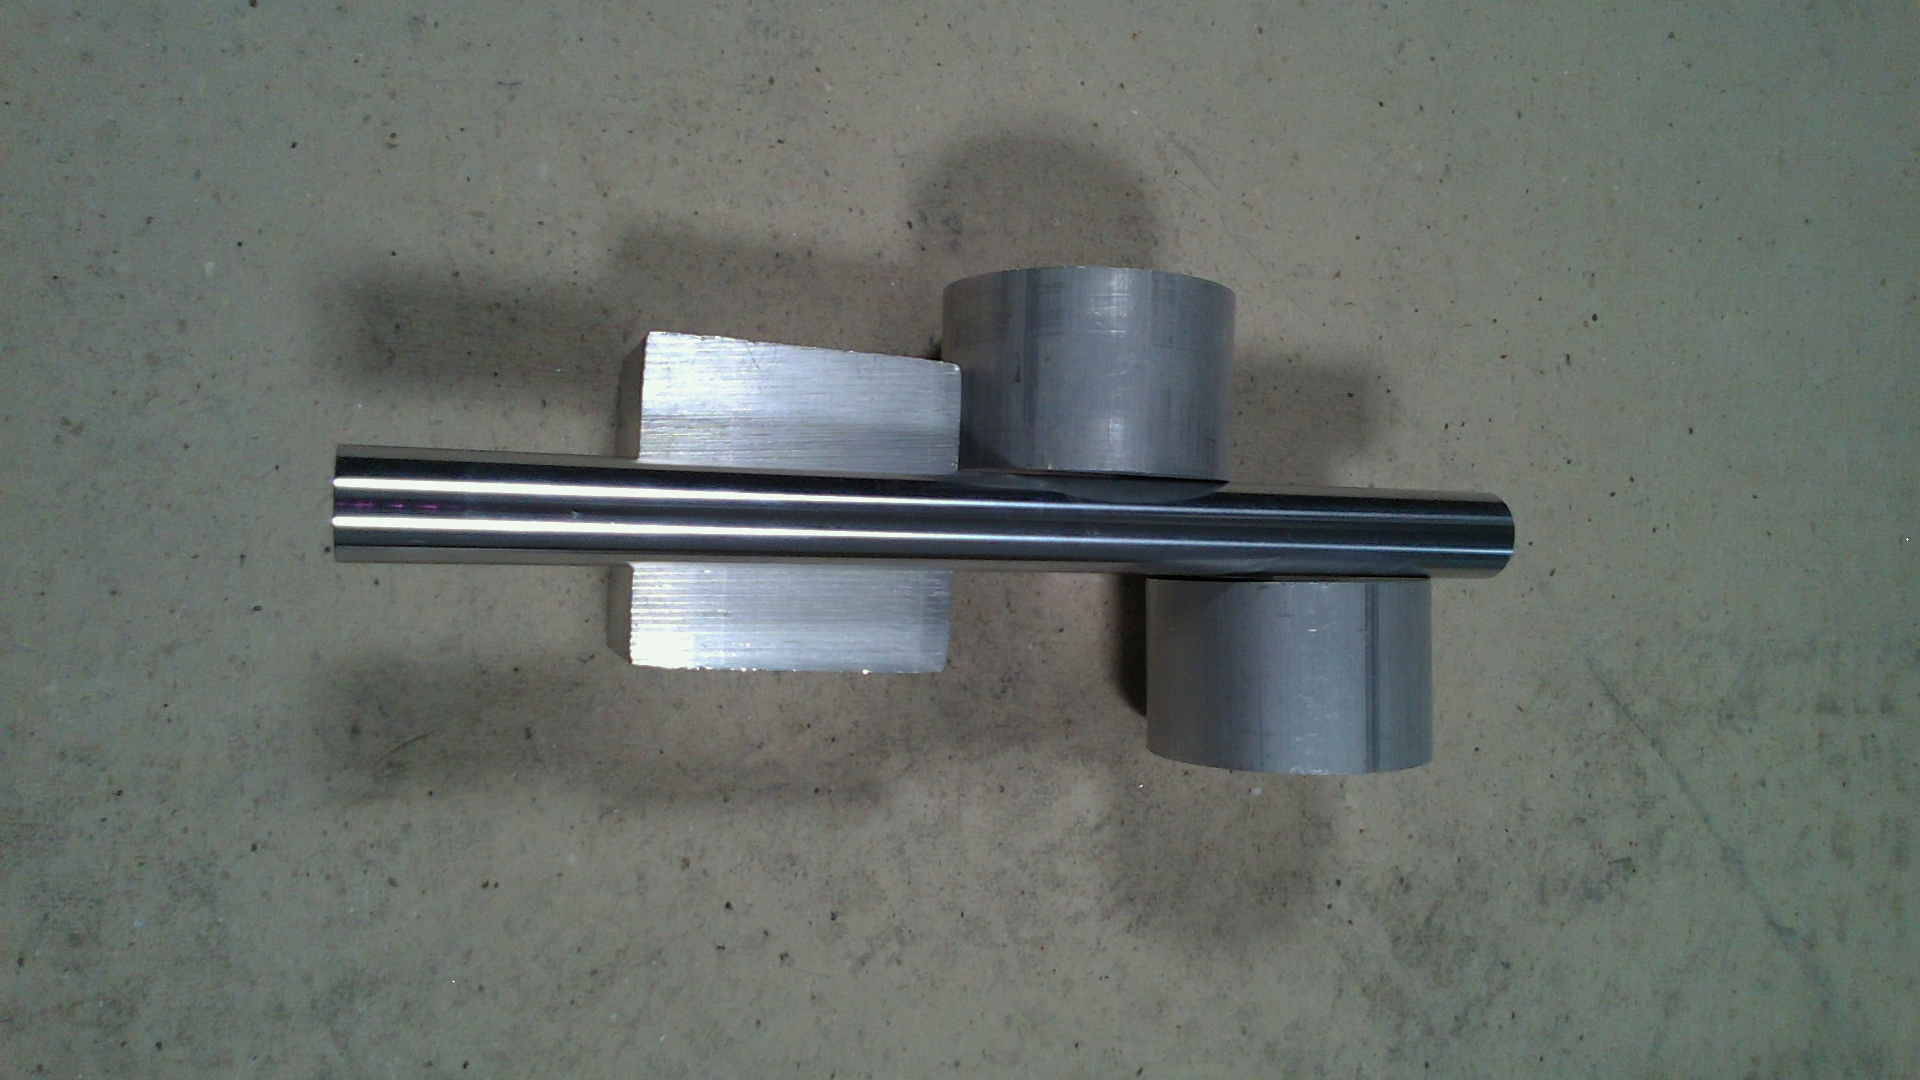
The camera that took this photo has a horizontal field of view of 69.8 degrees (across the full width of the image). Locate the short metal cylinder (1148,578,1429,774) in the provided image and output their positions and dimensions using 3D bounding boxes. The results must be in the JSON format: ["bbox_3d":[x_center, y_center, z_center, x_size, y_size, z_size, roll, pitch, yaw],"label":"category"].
[{"bbox_3d":[0.094,0.036,0.398,0.080,0.080,0.050,0,90,-20],"label":"short metal cylinder"}]

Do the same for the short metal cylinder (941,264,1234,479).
[{"bbox_3d":[0.034,-0.042,0.378,0.080,0.080,0.050,2,89,-20],"label":"short metal cylinder"}]

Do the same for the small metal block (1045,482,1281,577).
[{"bbox_3d":[0.058,-0.003,0.400,0.050,0.050,0.025,1,90,-20],"label":"small metal block"}]

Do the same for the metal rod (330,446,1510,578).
[{"bbox_3d":[0.009,-0.004,0.343,0.301,0.025,0.025,1,90,-21],"label":"metal rod"}]

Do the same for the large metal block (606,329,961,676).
[{"bbox_3d":[-0.048,-0.008,0.360,0.080,0.050,0.080,3,89,-20],"label":"large metal block"}]
